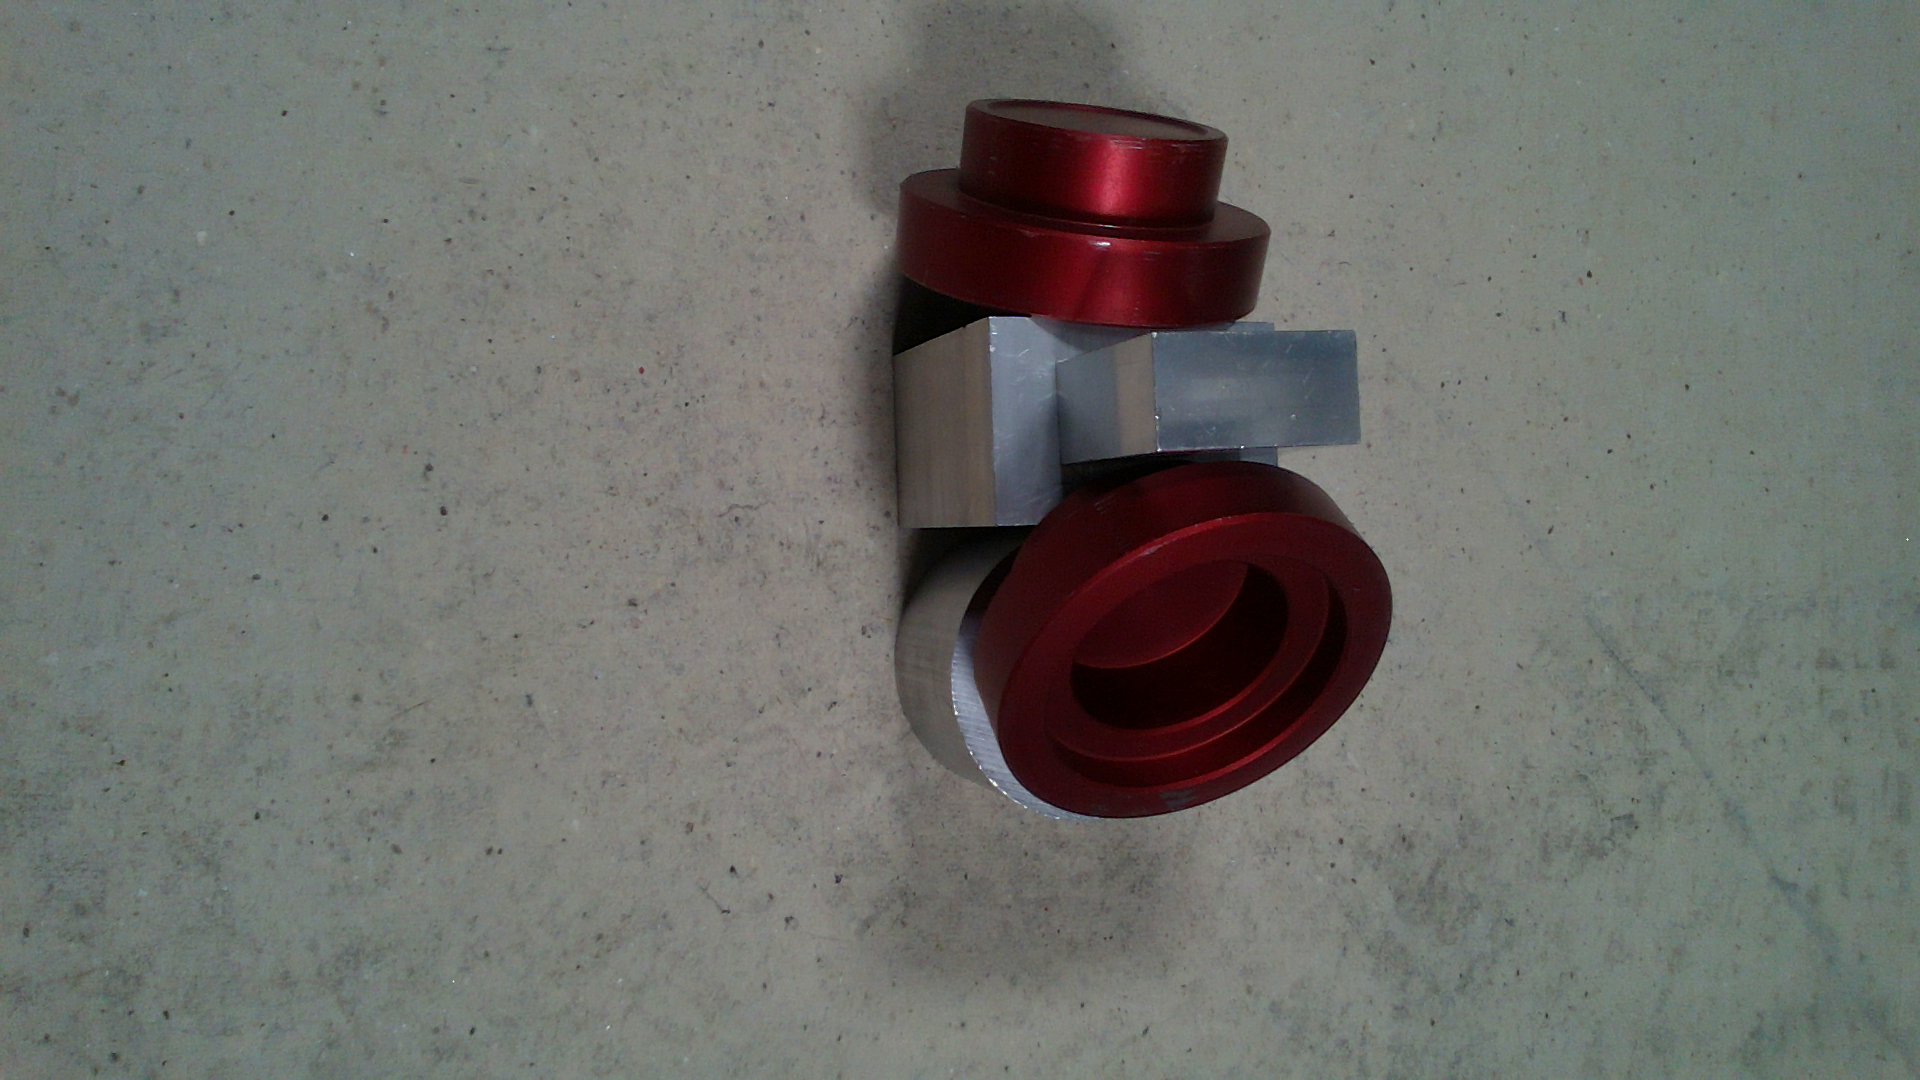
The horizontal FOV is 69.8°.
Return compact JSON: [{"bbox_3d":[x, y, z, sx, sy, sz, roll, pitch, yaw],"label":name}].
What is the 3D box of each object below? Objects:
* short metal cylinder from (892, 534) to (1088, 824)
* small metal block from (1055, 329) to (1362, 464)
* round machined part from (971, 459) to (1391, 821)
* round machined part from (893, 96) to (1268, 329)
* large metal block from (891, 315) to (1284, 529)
[{"bbox_3d":[0.026,0.036,0.391,0.080,0.050,0.080,0,90,-20],"label":"short metal cylinder"},{"bbox_3d":[0.055,-0.032,0.315,0.050,0.050,0.025,-3,91,-20],"label":"small metal block"},{"bbox_3d":[0.049,0.020,0.332,0.098,0.042,0.098,-11,132,-12],"label":"round machined part"},{"bbox_3d":[0.033,-0.090,0.362,0.098,0.098,0.042,-2,116,-20],"label":"round machined part"},{"bbox_3d":[0.031,-0.030,0.375,0.080,0.080,0.050,-2,91,-20],"label":"large metal block"}]
